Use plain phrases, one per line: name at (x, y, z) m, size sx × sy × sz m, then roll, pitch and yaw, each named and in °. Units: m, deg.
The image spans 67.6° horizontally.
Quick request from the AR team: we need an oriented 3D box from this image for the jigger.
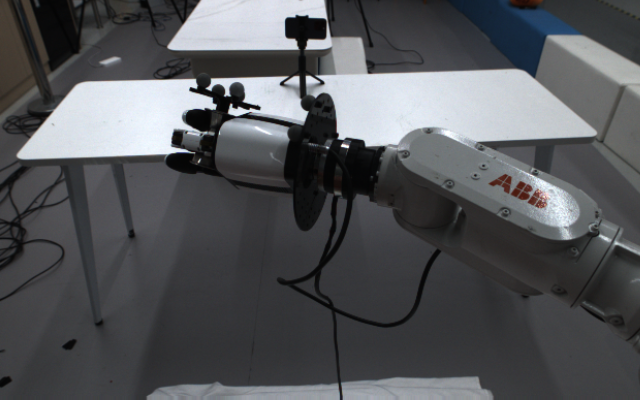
jigger at (-0.131, -0.074, 0.587) m, size 0.043 × 0.071 × 0.043 m, roll 16°, pitch 2°, yaw -1°
